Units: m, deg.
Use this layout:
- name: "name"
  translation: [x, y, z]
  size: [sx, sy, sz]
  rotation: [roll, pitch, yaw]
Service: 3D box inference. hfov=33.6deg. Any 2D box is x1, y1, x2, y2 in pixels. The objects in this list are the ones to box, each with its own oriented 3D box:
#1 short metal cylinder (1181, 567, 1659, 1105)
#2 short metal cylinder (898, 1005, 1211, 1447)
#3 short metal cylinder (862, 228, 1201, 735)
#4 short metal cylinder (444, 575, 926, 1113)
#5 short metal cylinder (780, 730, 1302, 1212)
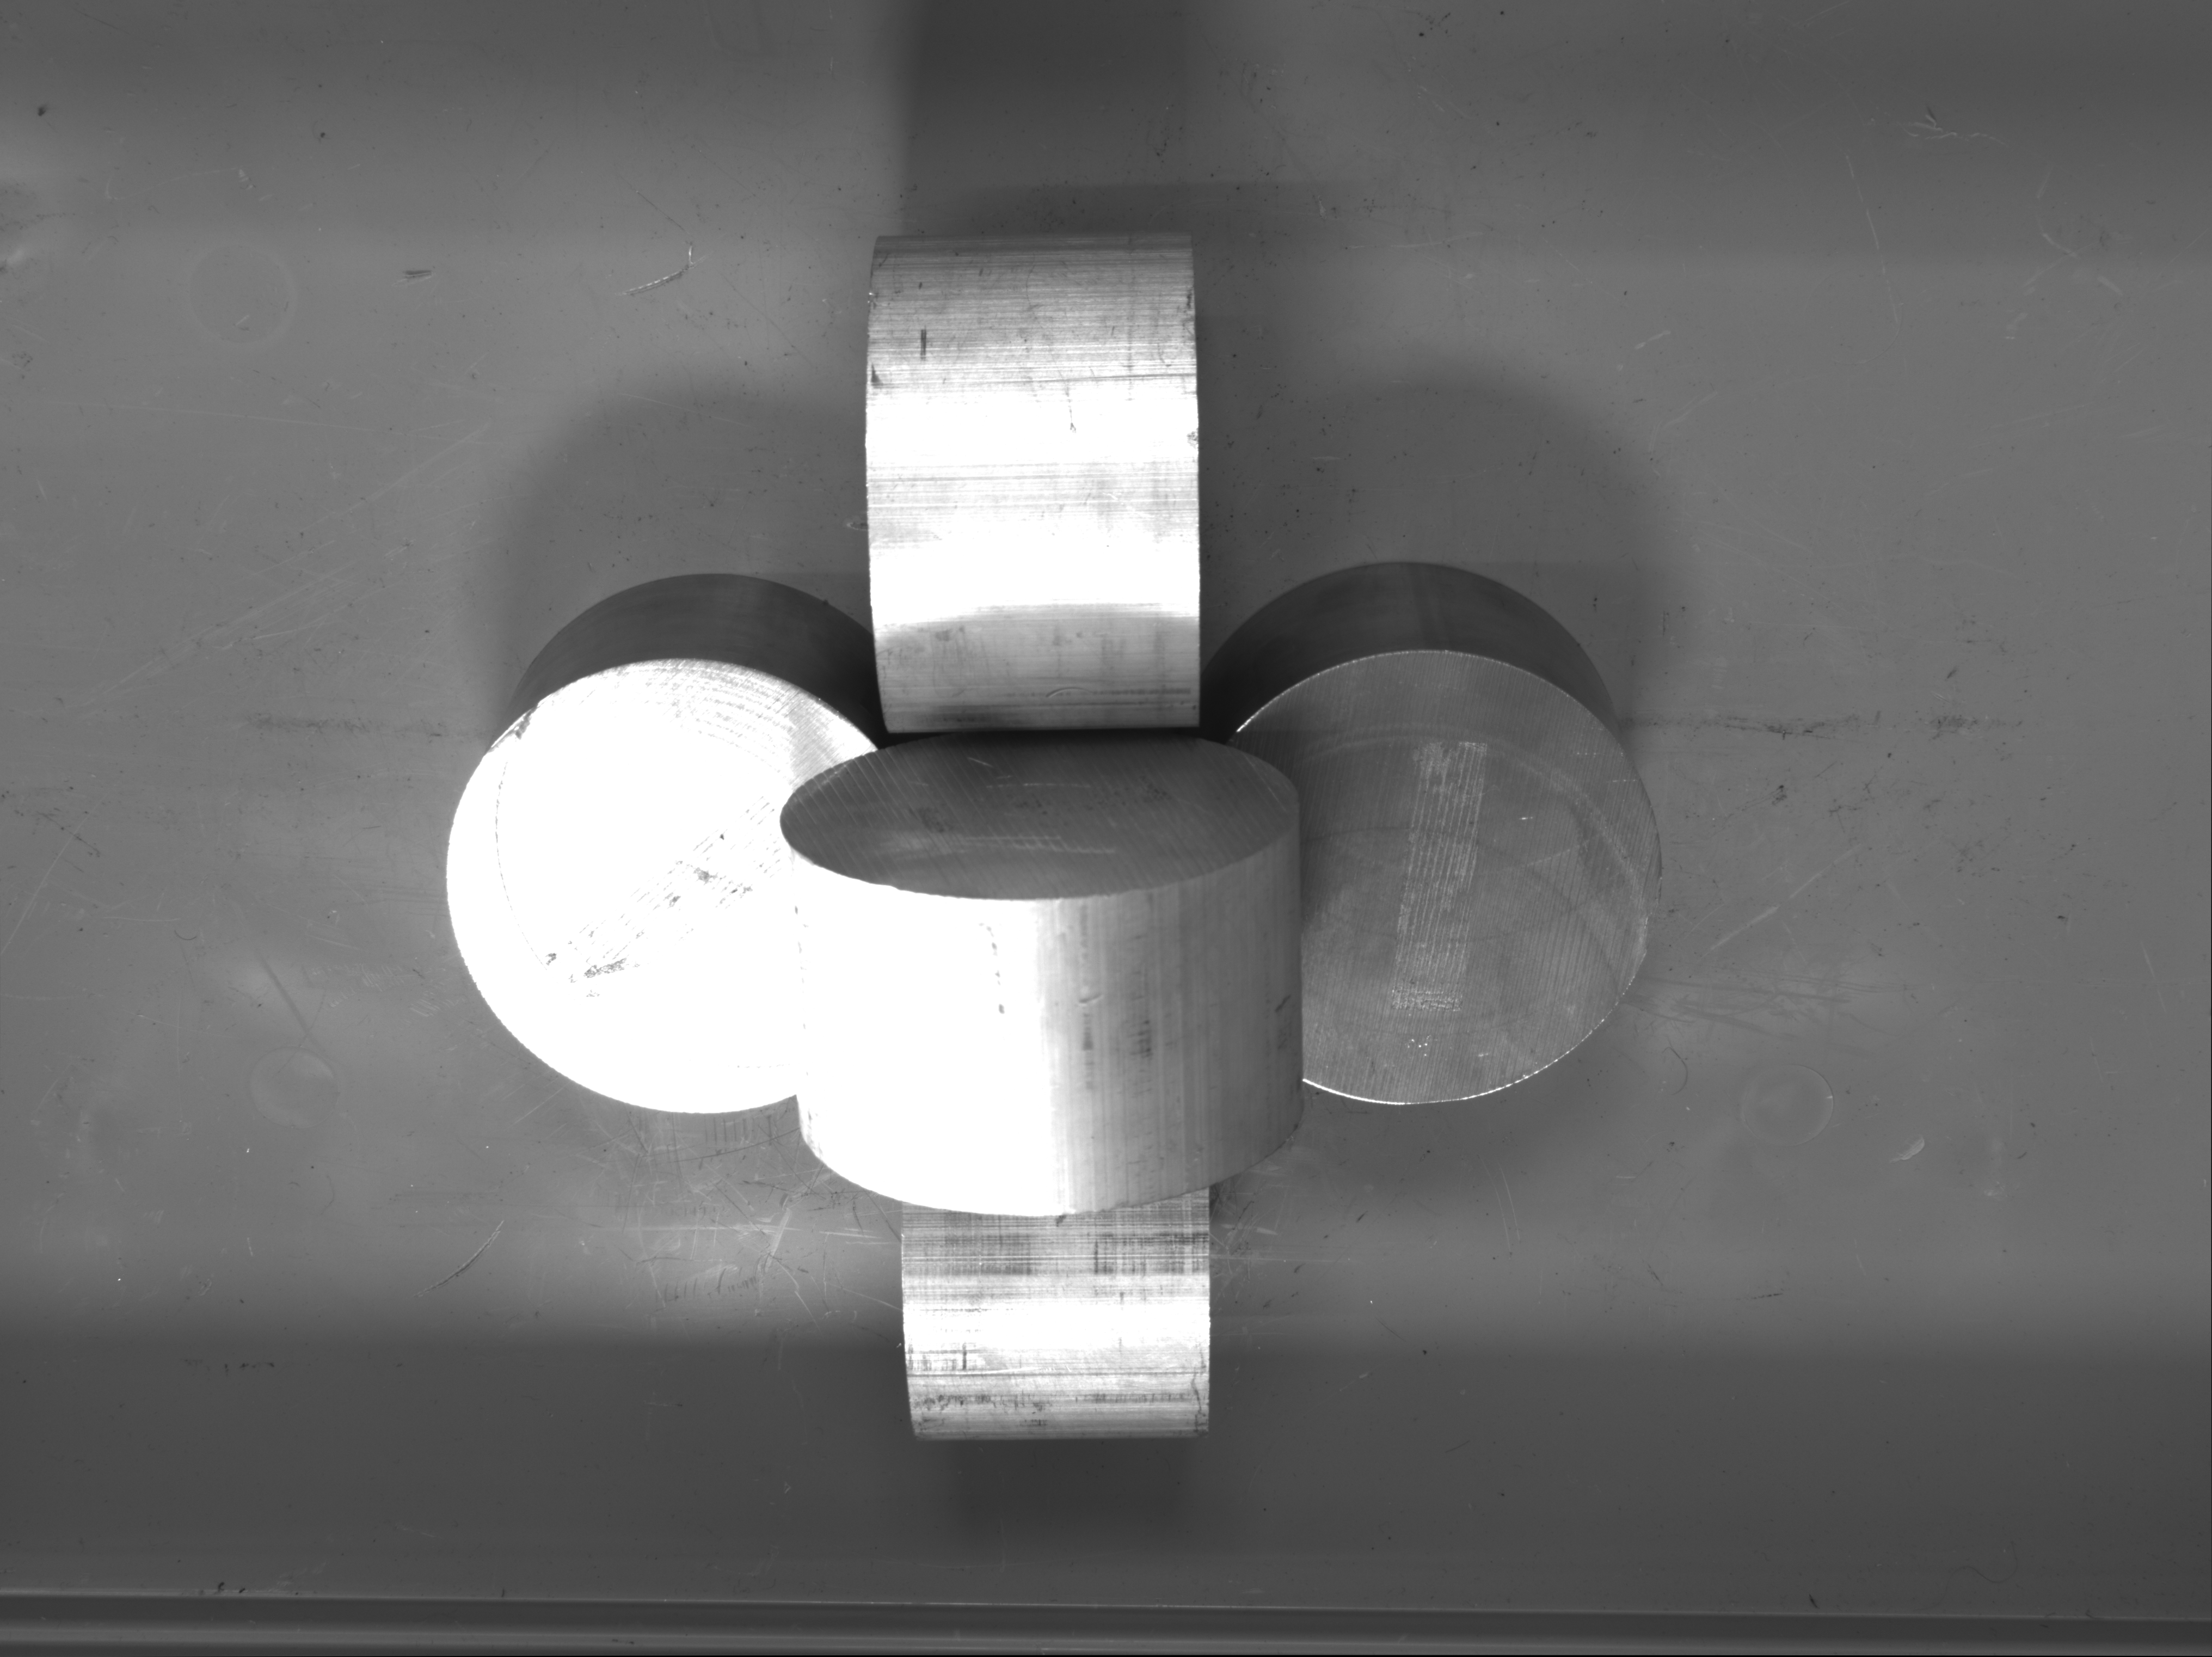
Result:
- name: "short metal cylinder"
  translation: [0.051, 0.001, 0.629]
  size: [0.080, 0.050, 0.080]
  rotation: [0, 110, 0]
- name: "short metal cylinder"
  translation: [-0.008, 0.066, 0.637]
  size: [0.050, 0.080, 0.080]
  rotation: [-2, 110, 0]
- name: "short metal cylinder"
  translation: [-0.011, -0.056, 0.592]
  size: [0.050, 0.080, 0.080]
  rotation: [-2, 110, 0]
- name: "short metal cylinder"
  translation: [-0.069, 0.002, 0.629]
  size: [0.080, 0.050, 0.080]
  rotation: [0, 110, 0]
- name: "short metal cylinder"
  translation: [-0.009, 0.020, 0.573]
  size: [0.080, 0.080, 0.050]
  rotation: [-1, 110, 0]
